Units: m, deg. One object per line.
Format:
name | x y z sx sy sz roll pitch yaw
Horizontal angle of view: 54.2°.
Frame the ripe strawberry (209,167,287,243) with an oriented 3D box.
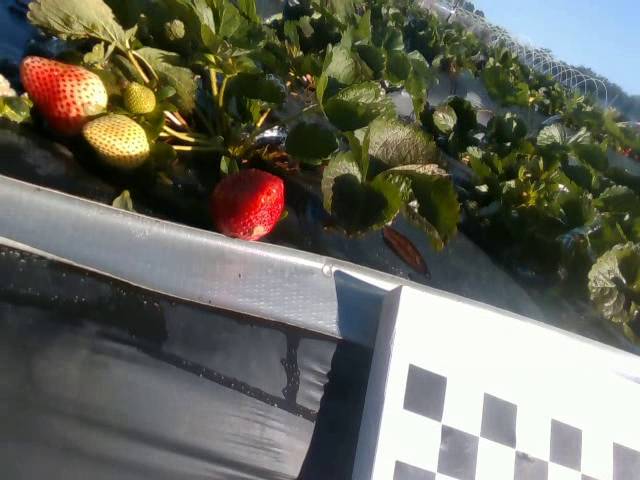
ripe strawberry | -0.029 -0.016 0.255 0.036 0.038 0.045 19 -13 -15
